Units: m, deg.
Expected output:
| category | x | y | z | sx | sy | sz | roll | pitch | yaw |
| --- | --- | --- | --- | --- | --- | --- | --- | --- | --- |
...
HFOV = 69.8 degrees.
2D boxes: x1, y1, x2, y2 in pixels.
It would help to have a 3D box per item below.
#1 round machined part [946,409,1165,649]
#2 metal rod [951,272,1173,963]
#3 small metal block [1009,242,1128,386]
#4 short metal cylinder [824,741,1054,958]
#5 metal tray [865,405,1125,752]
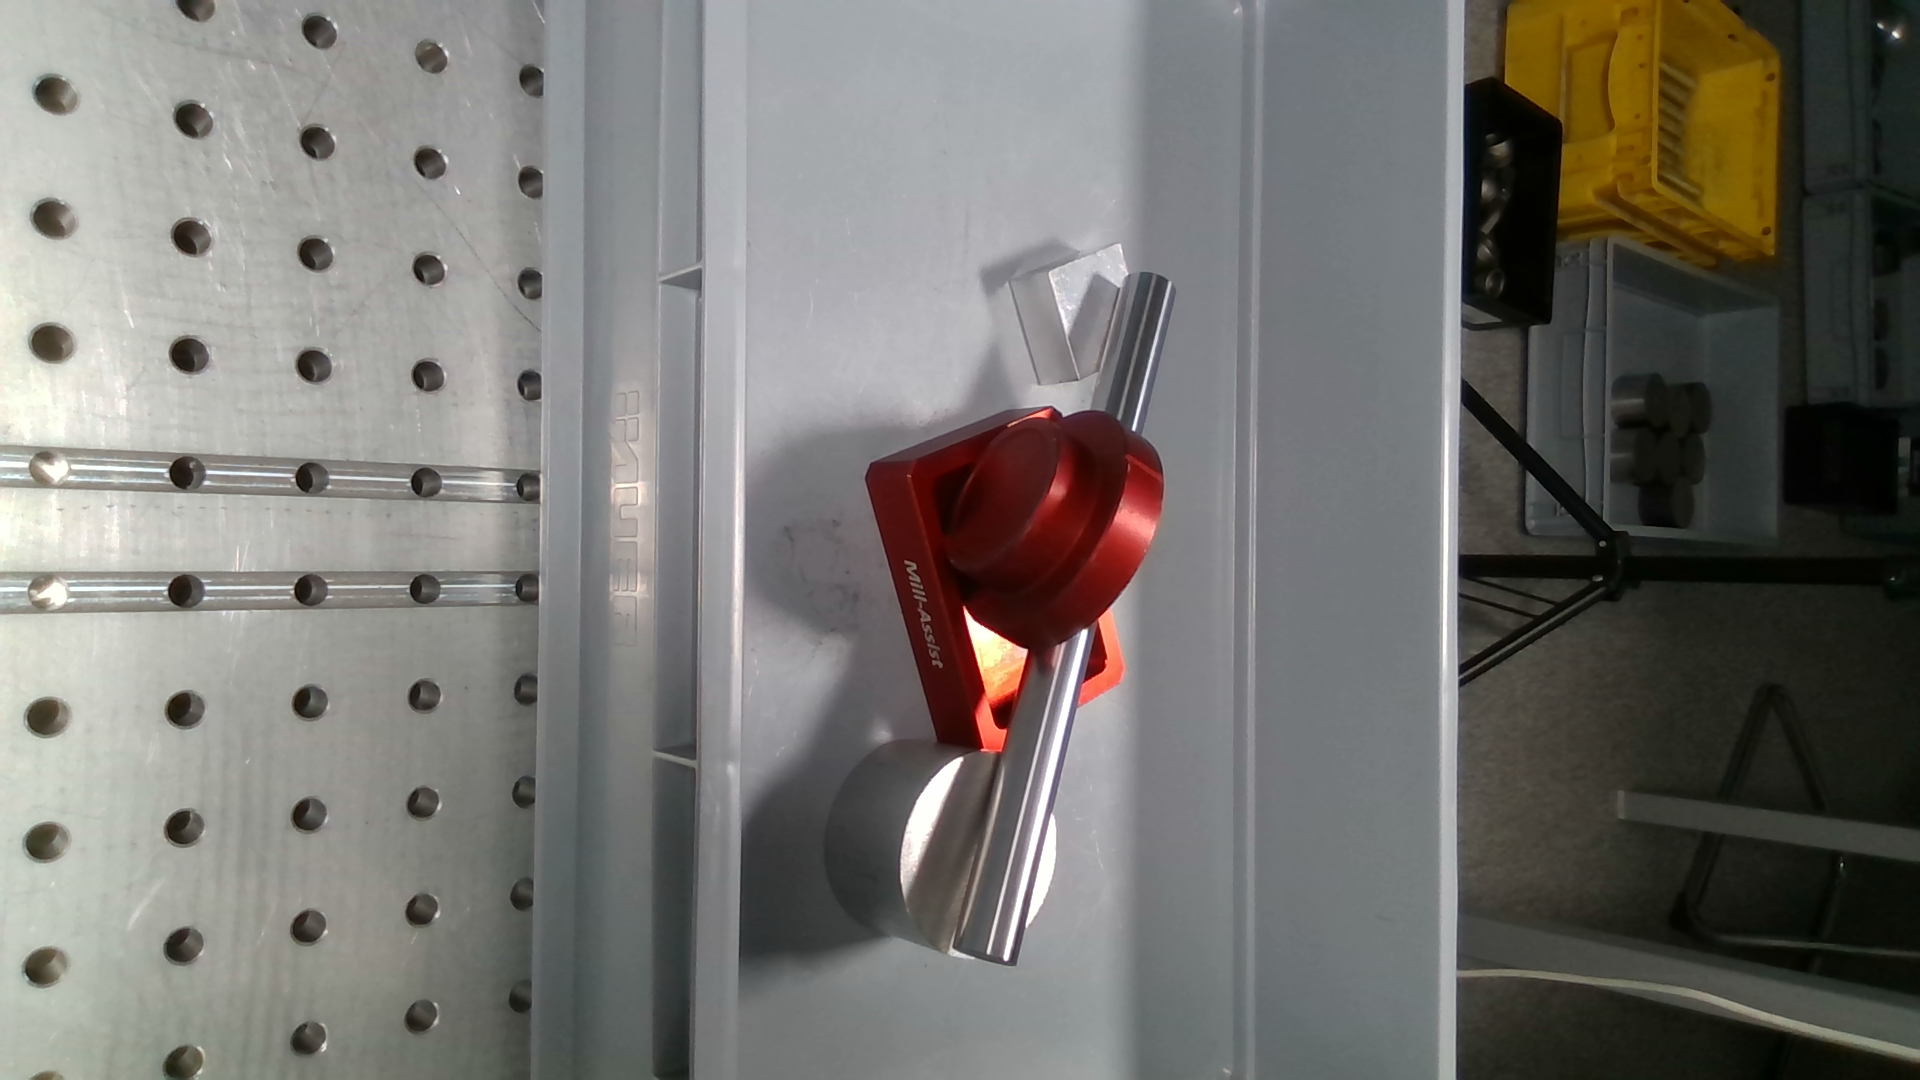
| category | x | y | z | sx | sy | sz | roll | pitch | yaw |
| --- | --- | --- | --- | --- | --- | --- | --- | --- | --- |
| round machined part | 0.031 | -0.010 | 0.543 | 0.042 | 0.098 | 0.098 | 31 | 70 | -28 |
| metal rod | 0.047 | 0.021 | 0.568 | 0.025 | 0.025 | 0.299 | 32 | 64 | -36 |
| small metal block | 0.055 | -0.103 | 0.628 | 0.050 | 0.025 | 0.050 | -28 | 108 | -37 |
| short metal cylinder | -0.008 | 0.124 | 0.559 | 0.080 | 0.050 | 0.080 | 0 | 90 | -40 |
| metal tray | 0.018 | 0.016 | 0.593 | 0.090 | 0.030 | 0.130 | -25 | 106 | -37 |
